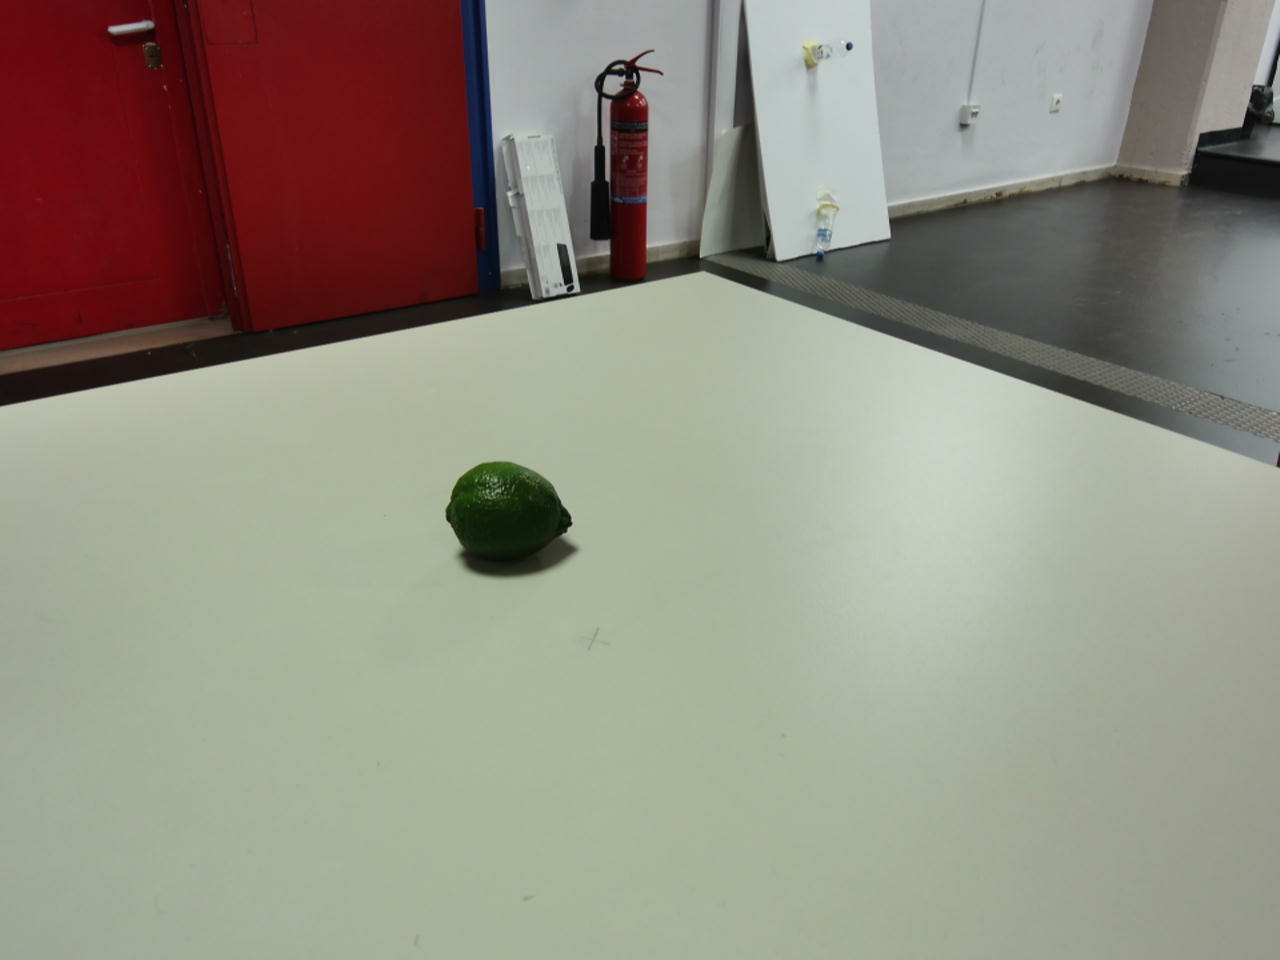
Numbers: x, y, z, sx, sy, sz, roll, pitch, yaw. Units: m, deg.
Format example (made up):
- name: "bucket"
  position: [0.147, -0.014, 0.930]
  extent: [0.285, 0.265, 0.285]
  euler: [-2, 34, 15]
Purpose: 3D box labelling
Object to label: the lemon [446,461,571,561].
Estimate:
- name: "lemon"
  position: [-0.070, 0.015, 0.514]
  extent: [0.057, 0.051, 0.054]
  euler: [-21, 32, -37]
